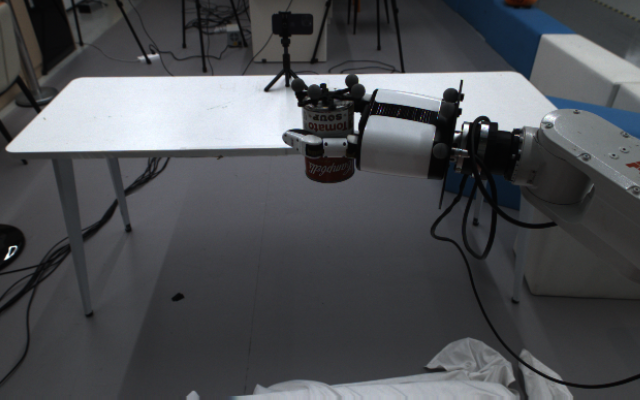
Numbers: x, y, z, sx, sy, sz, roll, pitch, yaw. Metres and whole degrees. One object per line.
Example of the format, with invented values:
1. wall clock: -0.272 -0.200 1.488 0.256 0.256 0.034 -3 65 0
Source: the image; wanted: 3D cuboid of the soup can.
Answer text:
1. soup can: 0.013 -0.082 0.629 0.067 0.101 0.067 -2 33 1
